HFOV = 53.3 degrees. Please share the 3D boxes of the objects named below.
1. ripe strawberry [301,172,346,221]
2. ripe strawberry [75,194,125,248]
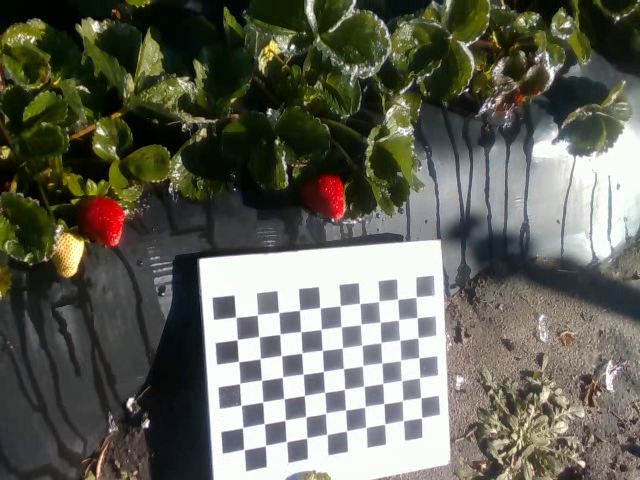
[{"bbox_3d":[0.011,-0.046,0.680,0.048,0.061,0.044,-13,-25,-19],"label":"ripe strawberry"},{"bbox_3d":[-0.204,-0.012,0.610,0.042,0.061,0.046,-20,-32,-18],"label":"ripe strawberry"}]
